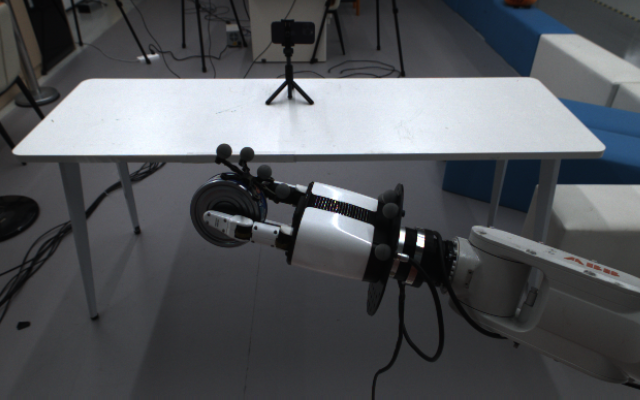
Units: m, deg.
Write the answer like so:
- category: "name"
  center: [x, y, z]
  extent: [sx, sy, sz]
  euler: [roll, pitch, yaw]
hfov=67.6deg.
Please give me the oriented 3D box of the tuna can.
- category: "tuna can"
  center: [-0.104, 0.018, 0.567]
  extent: [0.085, 0.085, 0.034]
  euler: [6, 19, 6]
